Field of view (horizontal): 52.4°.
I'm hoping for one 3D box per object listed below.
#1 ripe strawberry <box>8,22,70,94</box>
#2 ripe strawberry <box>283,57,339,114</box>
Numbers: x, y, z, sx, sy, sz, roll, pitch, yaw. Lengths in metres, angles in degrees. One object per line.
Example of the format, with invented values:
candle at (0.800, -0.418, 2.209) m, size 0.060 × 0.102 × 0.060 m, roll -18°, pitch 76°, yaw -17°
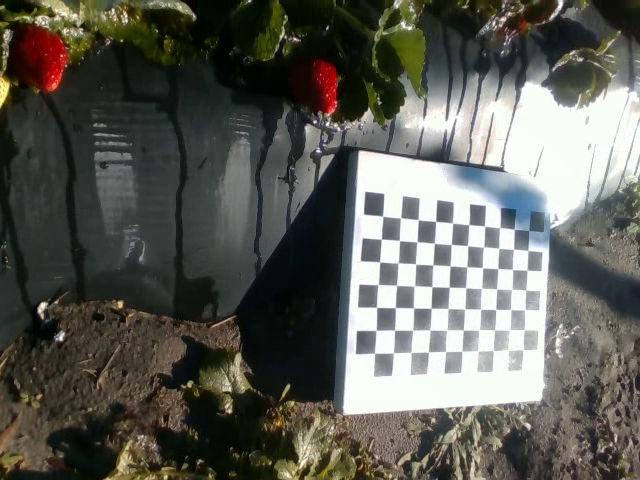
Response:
ripe strawberry at (-0.171, -0.106, 0.393) m, size 0.037 × 0.040 × 0.051 m, roll -12°, pitch 49°, yaw -28°
ripe strawberry at (0.000, -0.114, 0.490) m, size 0.041 × 0.053 × 0.047 m, roll -3°, pitch -35°, yaw -30°
